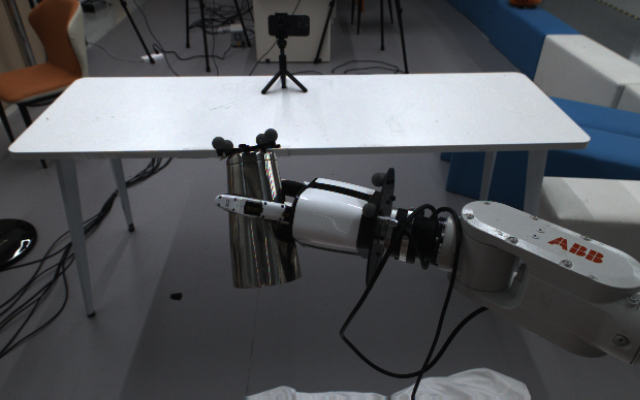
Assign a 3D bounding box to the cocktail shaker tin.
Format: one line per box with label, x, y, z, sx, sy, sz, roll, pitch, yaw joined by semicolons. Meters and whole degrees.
cocktail shaker tin;-0.081;0.024;0.646;0.093;0.170;0.093;-8;1;0
